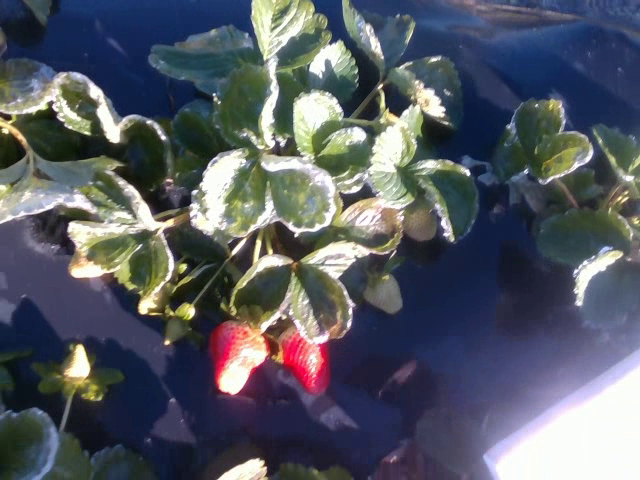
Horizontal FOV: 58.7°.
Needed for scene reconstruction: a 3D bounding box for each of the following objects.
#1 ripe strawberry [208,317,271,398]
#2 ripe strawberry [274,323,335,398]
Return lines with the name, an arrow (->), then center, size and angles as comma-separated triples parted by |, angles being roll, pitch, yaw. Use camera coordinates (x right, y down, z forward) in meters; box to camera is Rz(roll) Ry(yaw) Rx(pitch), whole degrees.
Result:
ripe strawberry -> -0.068, 0.103, 0.444 | 0.052, 0.070, 0.040 | 19, -6, -21
ripe strawberry -> -0.014, 0.101, 0.446 | 0.043, 0.059, 0.040 | -28, 6, -9
